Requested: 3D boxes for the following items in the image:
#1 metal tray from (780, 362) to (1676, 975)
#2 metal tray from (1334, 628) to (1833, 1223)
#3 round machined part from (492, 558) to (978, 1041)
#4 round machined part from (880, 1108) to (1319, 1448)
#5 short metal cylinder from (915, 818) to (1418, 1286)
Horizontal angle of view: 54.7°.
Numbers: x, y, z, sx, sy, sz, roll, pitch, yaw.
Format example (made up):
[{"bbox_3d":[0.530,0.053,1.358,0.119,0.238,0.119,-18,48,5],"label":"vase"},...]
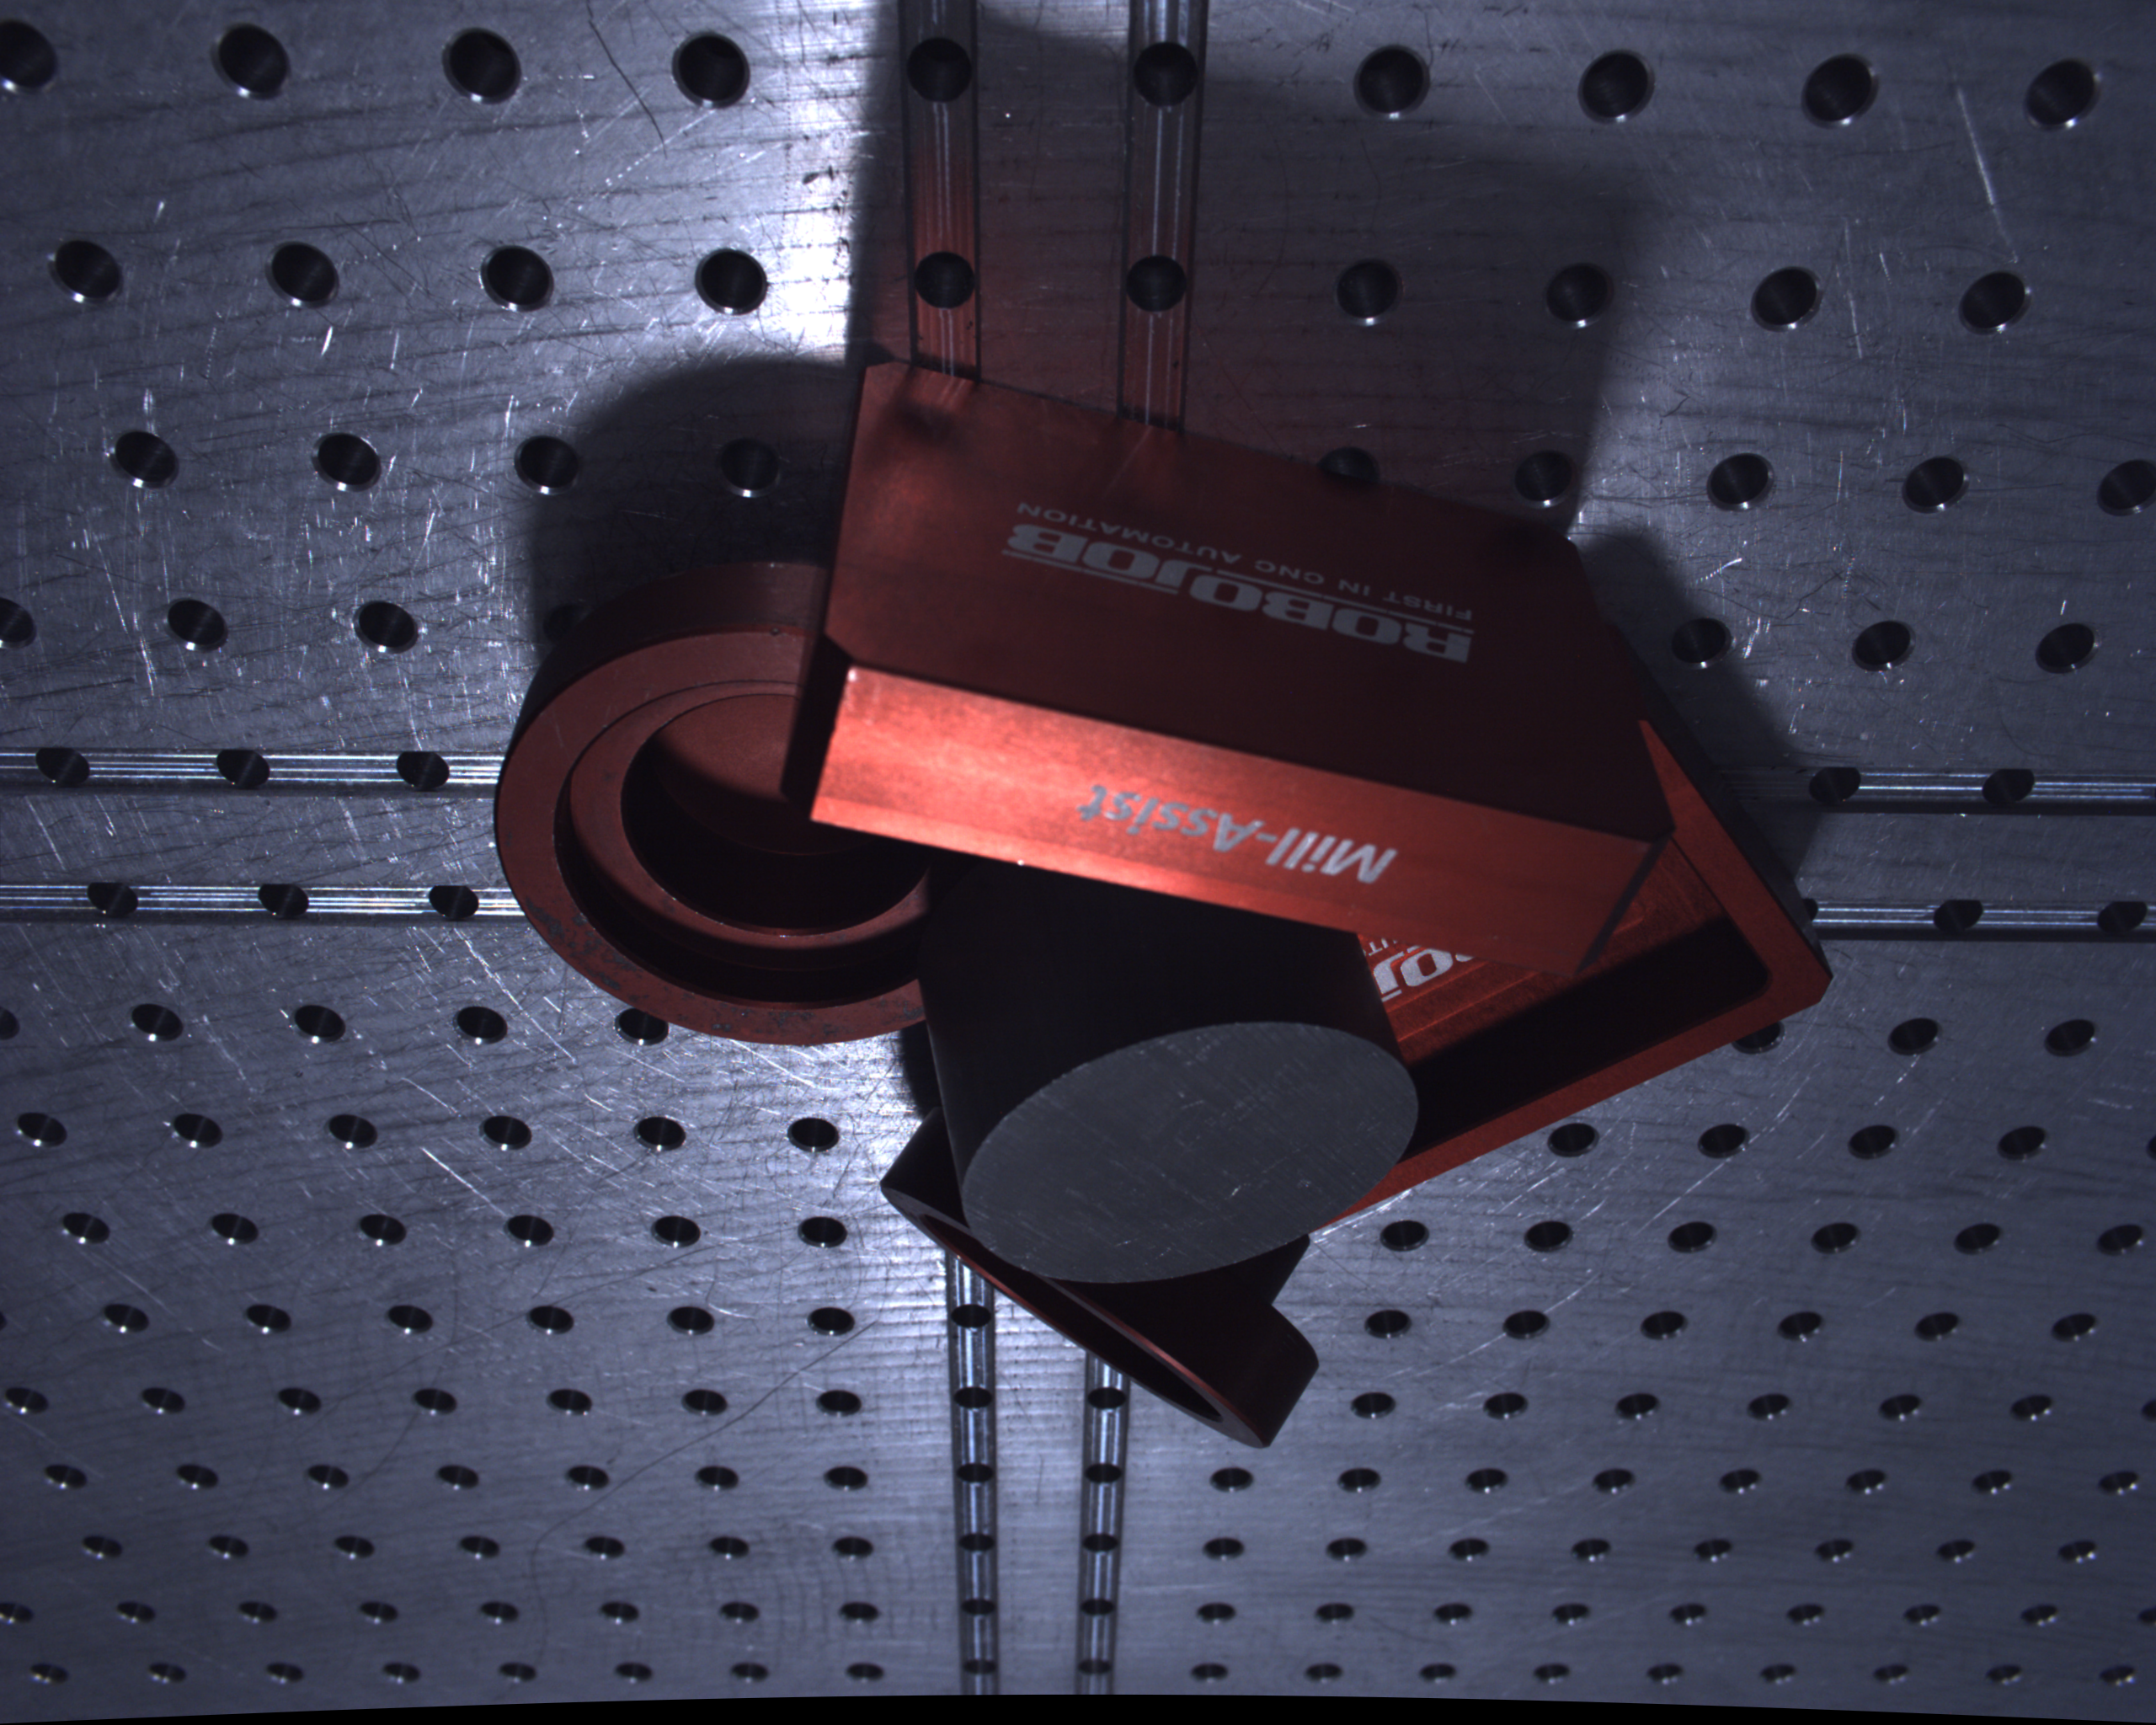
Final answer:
[{"bbox_3d":[0.023,-0.034,0.340,0.131,0.090,0.030,12,129,-11],"label":"metal tray"},{"bbox_3d":[0.072,0.019,0.425,0.130,0.030,0.090,-29,125,22],"label":"metal tray"},{"bbox_3d":[-0.054,-0.015,0.387,0.099,0.042,0.097,-1,130,0],"label":"round machined part"},{"bbox_3d":[0.010,0.080,0.446,0.098,0.042,0.098,31,164,11],"label":"round machined part"},{"bbox_3d":[0.015,0.033,0.375,0.081,0.050,0.080,-9,140,-8],"label":"short metal cylinder"}]
